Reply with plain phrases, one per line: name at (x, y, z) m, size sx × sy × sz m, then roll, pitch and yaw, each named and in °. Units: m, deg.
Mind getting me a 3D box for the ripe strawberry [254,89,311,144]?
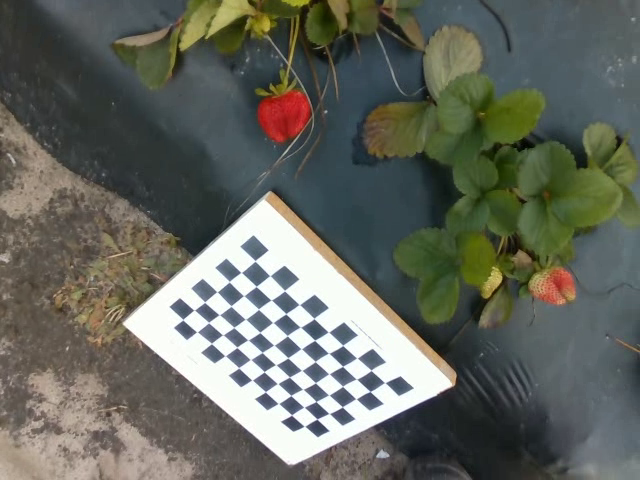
ripe strawberry at (-0.010, -0.031, 0.151) m, size 0.017 × 0.015 × 0.013 m, roll -13°, pitch -19°, yaw 25°
